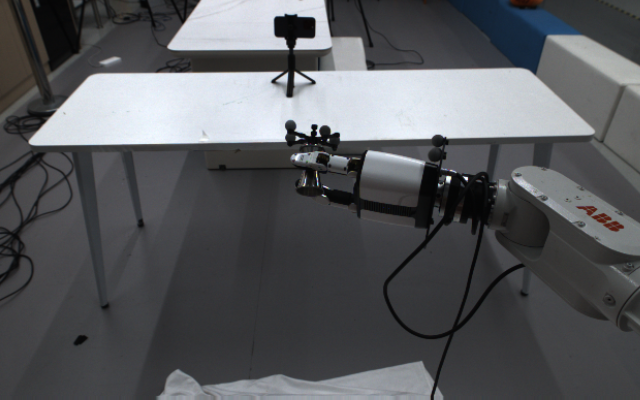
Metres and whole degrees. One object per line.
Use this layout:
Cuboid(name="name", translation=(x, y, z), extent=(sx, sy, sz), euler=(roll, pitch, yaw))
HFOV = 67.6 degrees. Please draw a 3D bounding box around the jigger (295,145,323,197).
Cuboid(name="jigger", translation=(-0.015, -0.046, 0.719), extent=(0.043, 0.043, 0.071), euler=(3, 72, 1))
